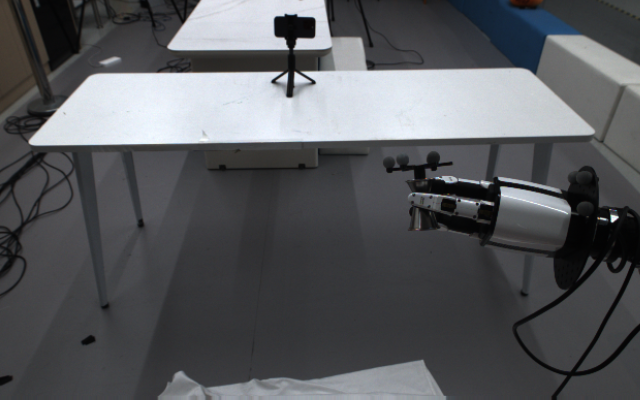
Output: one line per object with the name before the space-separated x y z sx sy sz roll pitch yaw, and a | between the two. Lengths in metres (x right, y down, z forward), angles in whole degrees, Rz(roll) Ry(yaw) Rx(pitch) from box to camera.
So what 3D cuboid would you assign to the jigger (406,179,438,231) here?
jigger | 0.138 0.004 0.657 0.043 0.071 0.043 -4 1 0
